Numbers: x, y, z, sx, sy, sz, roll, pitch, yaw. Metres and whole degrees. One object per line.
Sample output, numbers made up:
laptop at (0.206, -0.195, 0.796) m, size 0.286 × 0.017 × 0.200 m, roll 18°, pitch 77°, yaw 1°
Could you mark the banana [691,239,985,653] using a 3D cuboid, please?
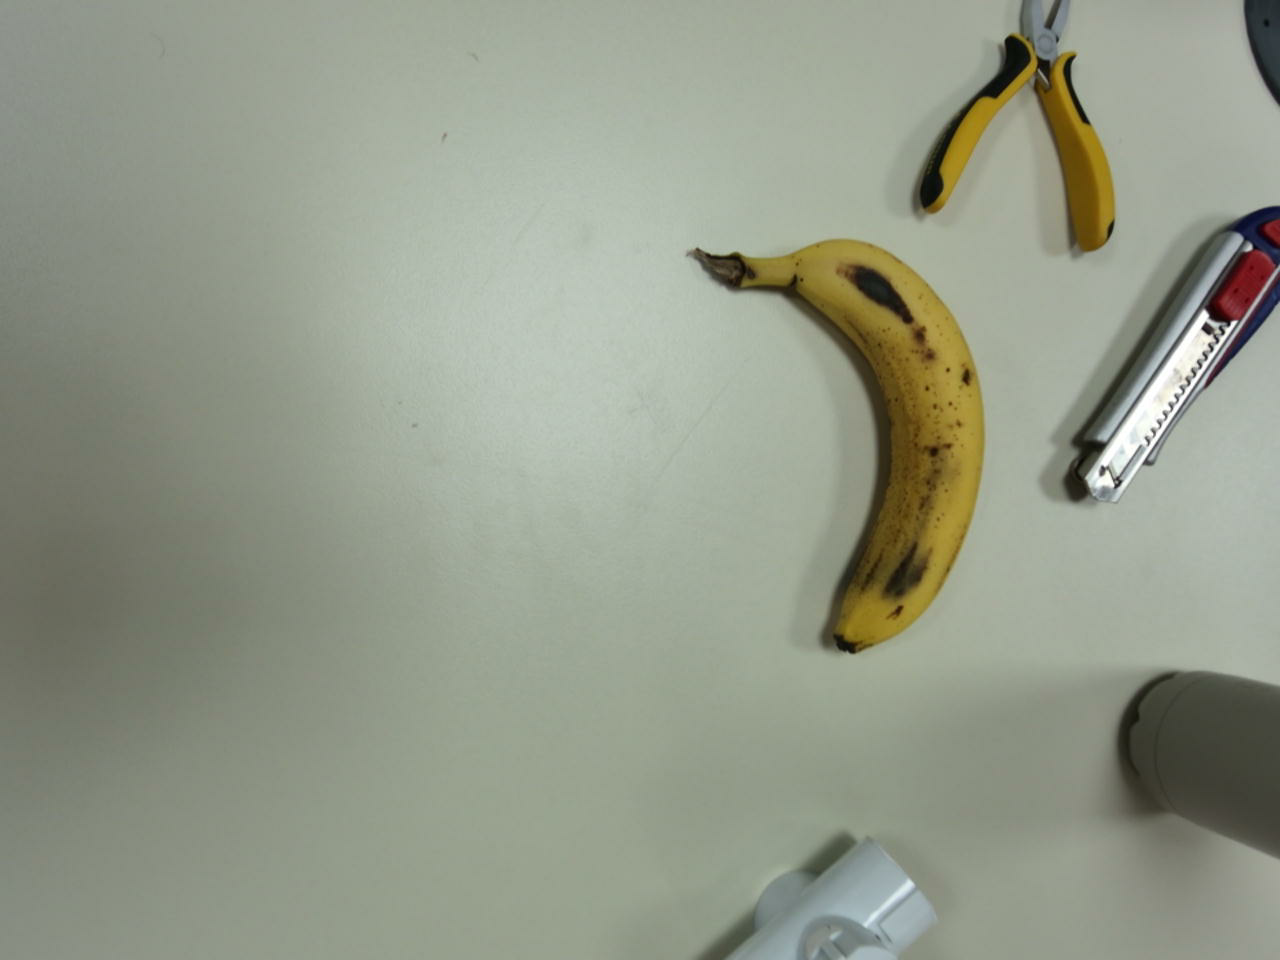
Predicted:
banana at (0.105, -0.025, 0.443) m, size 0.097 × 0.038 × 0.186 m, roll -19°, pitch 93°, yaw -11°
